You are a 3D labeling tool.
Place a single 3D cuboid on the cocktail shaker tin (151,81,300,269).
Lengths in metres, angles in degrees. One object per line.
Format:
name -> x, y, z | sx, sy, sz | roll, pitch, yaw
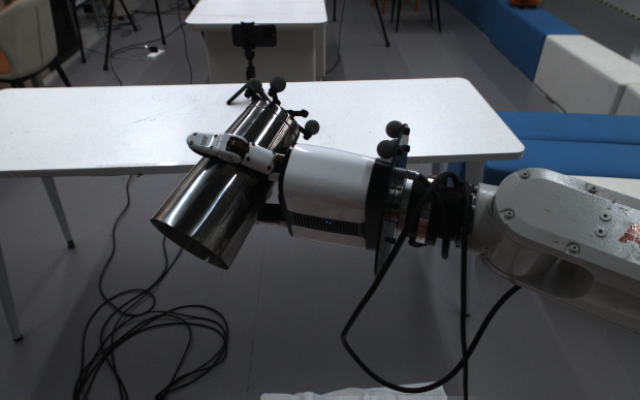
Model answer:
cocktail shaker tin -> -0.089, -0.026, 0.515 | 0.093, 0.093, 0.170 | 20, 67, 24
